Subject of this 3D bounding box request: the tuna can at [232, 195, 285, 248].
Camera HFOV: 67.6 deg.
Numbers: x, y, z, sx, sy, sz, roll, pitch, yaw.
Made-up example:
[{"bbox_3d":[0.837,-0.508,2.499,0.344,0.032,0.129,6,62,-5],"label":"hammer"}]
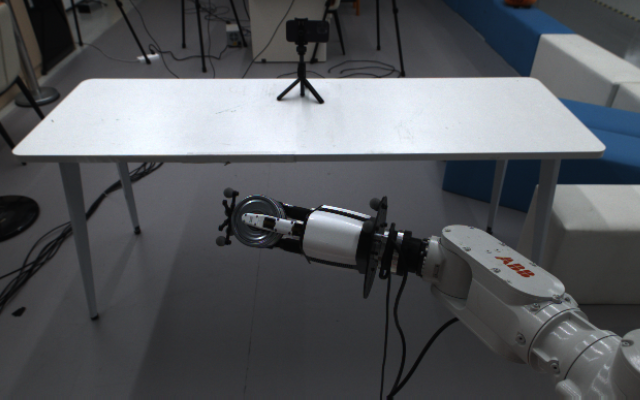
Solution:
[{"bbox_3d":[-0.097,0.034,0.778,0.085,0.085,0.034,10,-5,11],"label":"tuna can"}]
